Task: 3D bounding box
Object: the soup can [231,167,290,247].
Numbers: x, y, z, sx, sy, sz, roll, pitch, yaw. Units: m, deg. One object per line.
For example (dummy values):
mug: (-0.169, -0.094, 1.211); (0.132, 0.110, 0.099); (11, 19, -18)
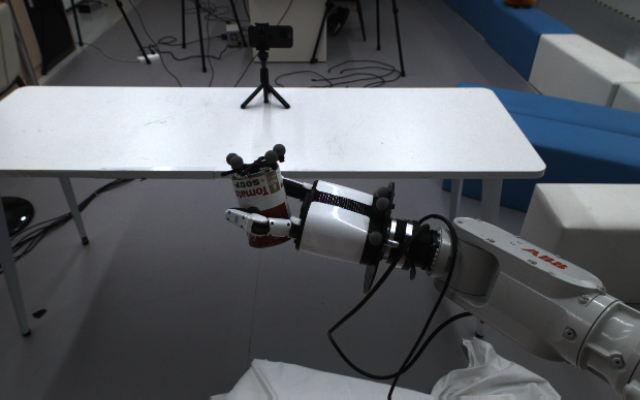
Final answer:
soup can: (-0.076, 0.007, 0.663); (0.067, 0.101, 0.067); (-12, 17, 4)
